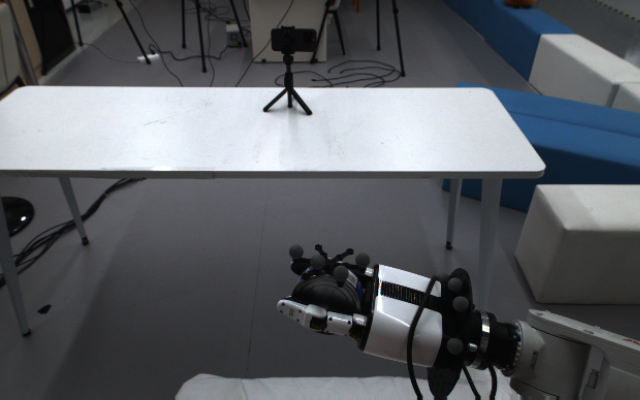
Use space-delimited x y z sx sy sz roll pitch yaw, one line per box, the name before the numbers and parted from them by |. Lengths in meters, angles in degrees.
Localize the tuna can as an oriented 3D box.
tuna can | 0.012 0.119 0.592 0.085 0.085 0.034 9 23 10
